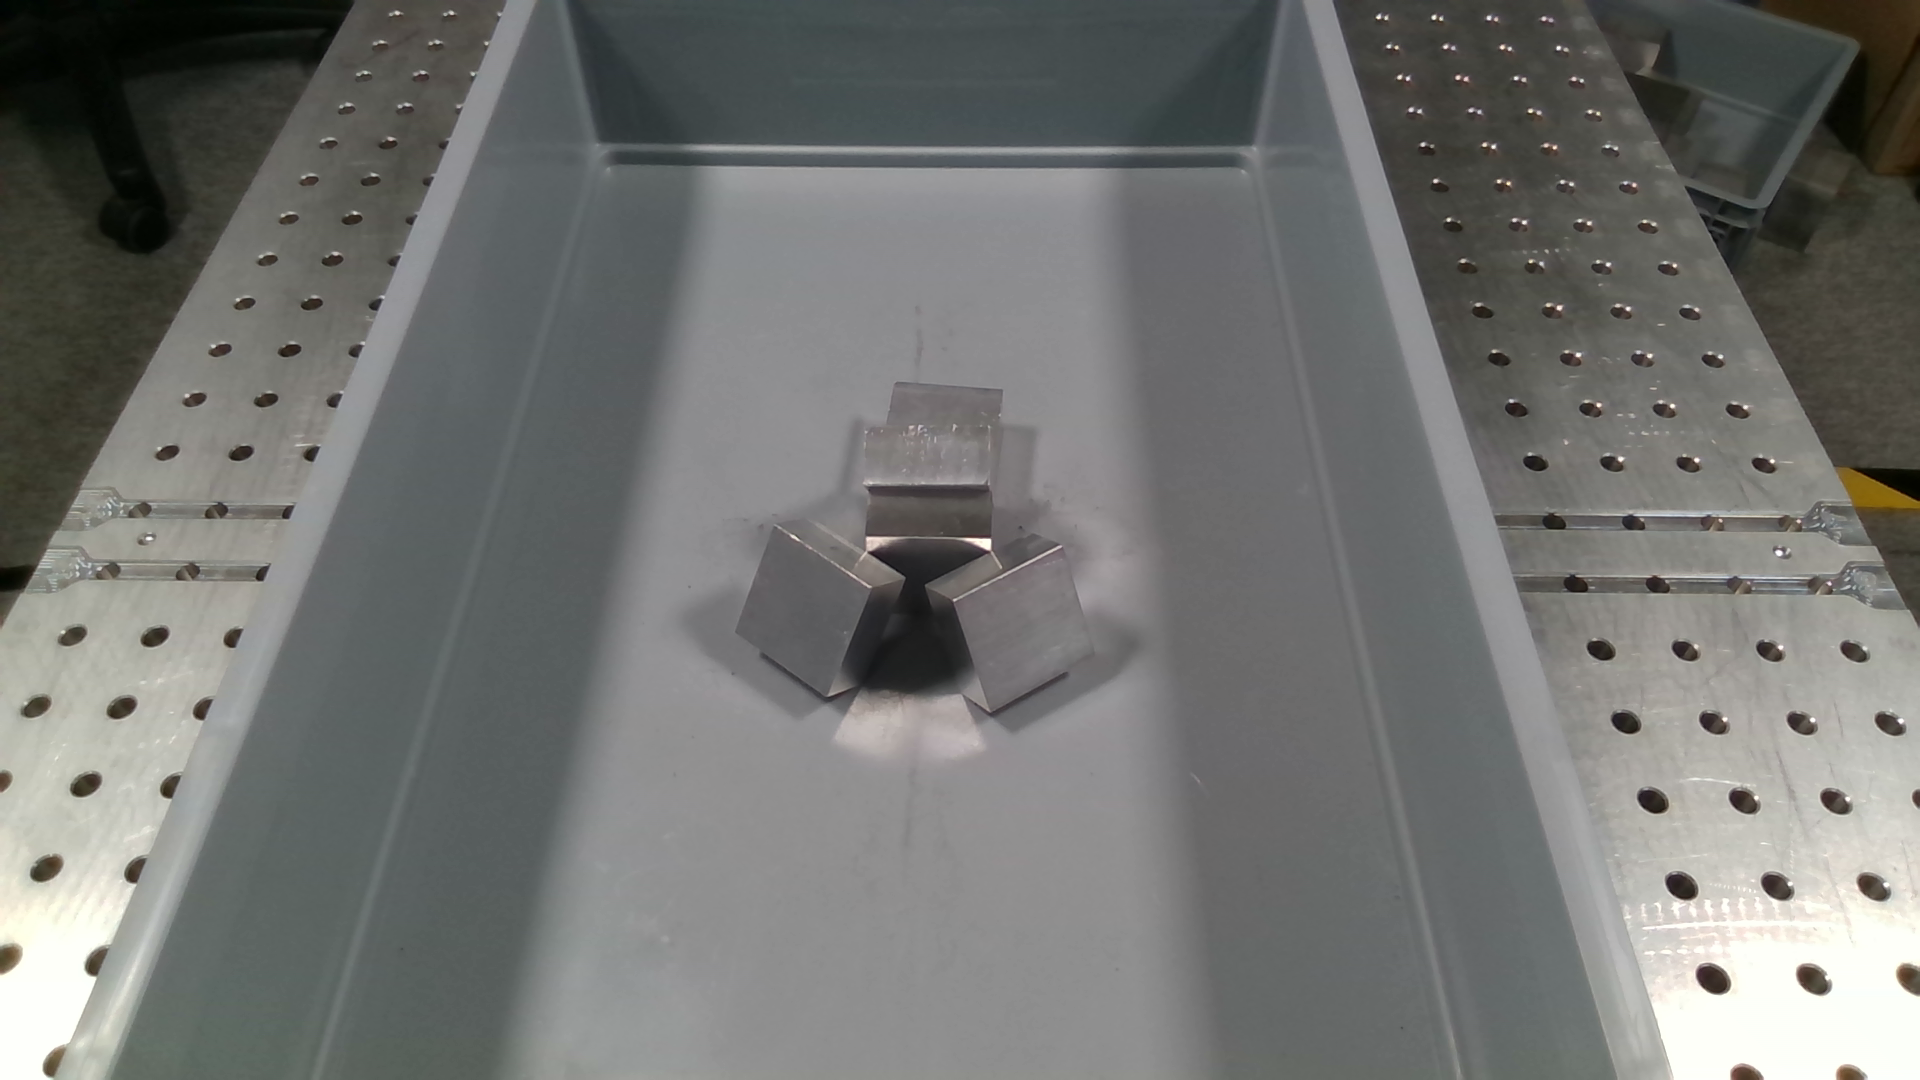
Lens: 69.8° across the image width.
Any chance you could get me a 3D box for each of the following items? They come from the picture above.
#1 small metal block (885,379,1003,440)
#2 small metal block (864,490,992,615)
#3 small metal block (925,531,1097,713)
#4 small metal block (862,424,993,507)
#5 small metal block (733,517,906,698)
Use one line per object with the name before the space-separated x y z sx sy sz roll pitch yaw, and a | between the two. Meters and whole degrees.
small metal block | -0.008 -0.045 0.621 0.050 0.025 0.050 5 50 4
small metal block | -0.012 0.006 0.565 0.050 0.050 0.025 1 50 1
small metal block | 0.020 0.032 0.539 0.050 0.050 0.025 -26 23 -20
small metal block | -0.012 -0.030 0.570 0.050 0.050 0.025 0 81 4
small metal block | -0.056 0.026 0.544 0.050 0.050 0.025 32 22 23
